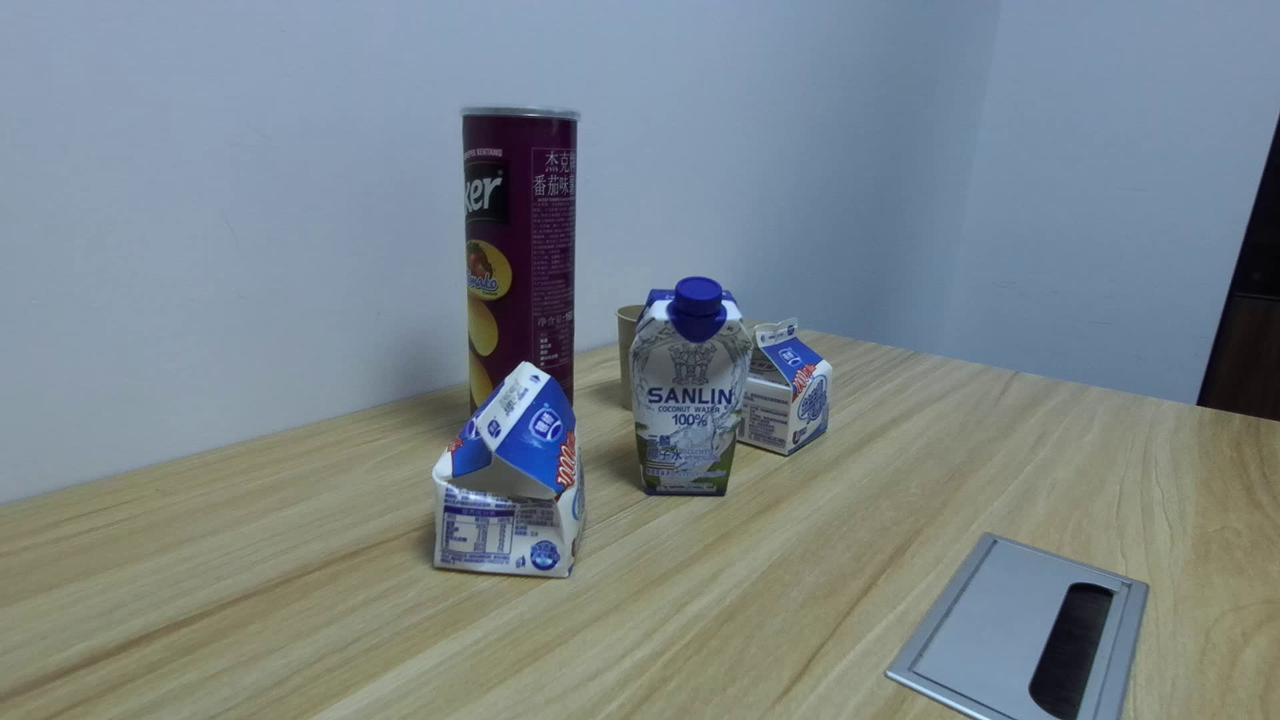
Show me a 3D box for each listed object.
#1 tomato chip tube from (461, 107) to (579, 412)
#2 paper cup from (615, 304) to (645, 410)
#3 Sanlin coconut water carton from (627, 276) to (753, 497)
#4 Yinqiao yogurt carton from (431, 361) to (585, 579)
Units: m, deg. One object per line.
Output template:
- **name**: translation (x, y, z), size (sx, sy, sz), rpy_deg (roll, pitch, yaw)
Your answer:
- **tomato chip tube**: translation (-0.082, -0.050, 0.498), size (0.078, 0.233, 0.078), rpy_deg (2, 15, 0)
- **paper cup**: translation (0.015, 0.001, 0.543), size (0.073, 0.081, 0.069), rpy_deg (5, 16, 29)
- **Sanlin coconut water carton**: translation (0.031, 0.015, 0.454), size (0.078, 0.142, 0.057), rpy_deg (1, 22, -4)
- **Yinqiao yogurt carton**: translation (-0.069, 0.055, 0.390), size (0.077, 0.093, 0.083), rpy_deg (3, 17, 3)
